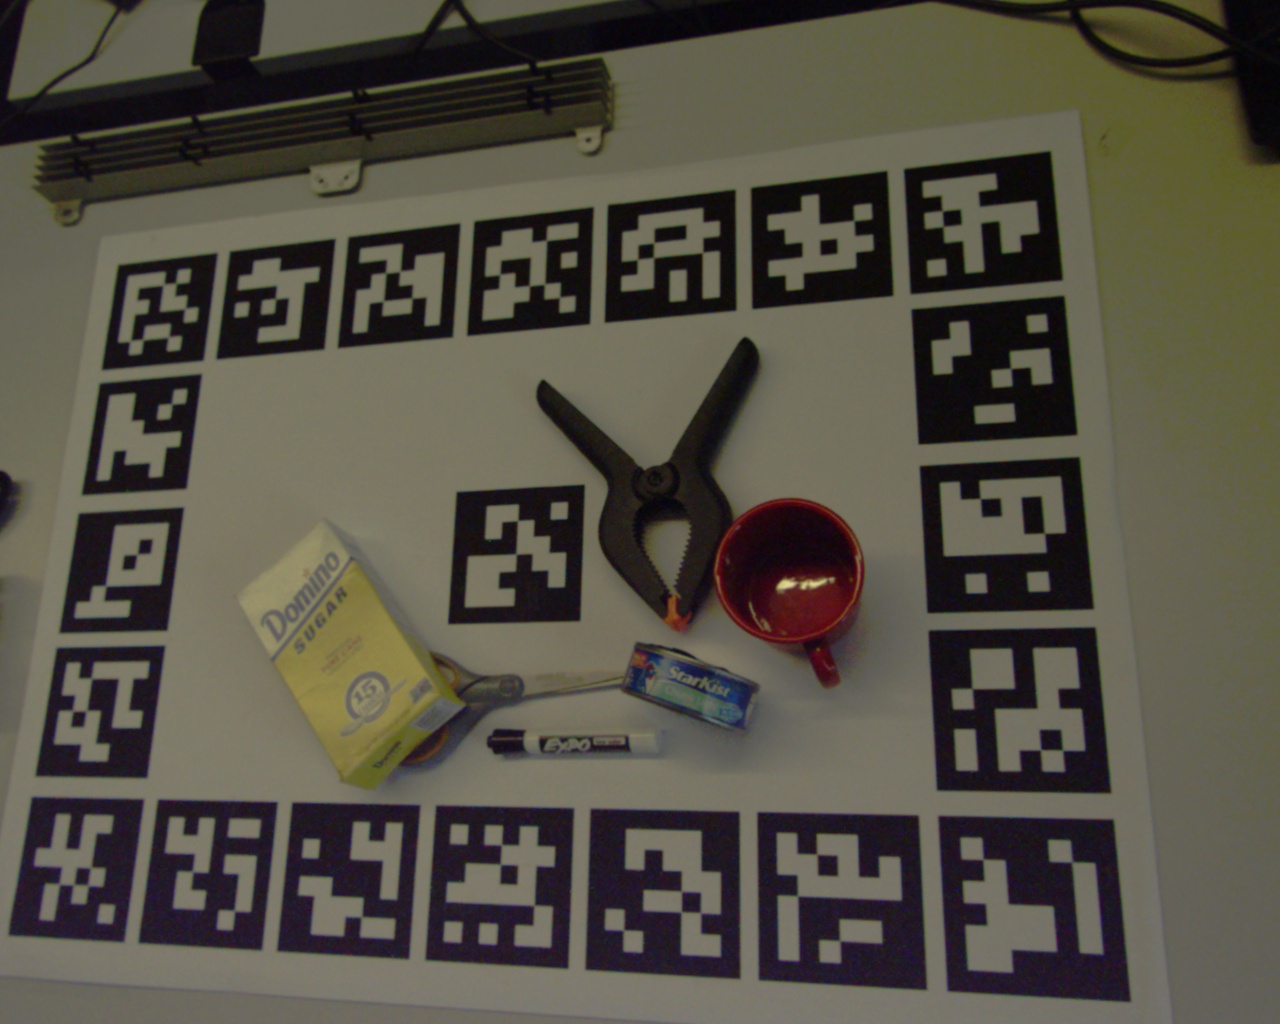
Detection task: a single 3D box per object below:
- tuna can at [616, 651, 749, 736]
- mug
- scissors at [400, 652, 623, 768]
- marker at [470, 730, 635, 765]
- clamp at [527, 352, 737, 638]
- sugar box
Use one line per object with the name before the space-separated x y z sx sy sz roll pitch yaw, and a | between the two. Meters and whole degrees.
tuna can | 0.028 0.123 0.768 0.086 0.085 0.034 15 79 18
mug | 0.088 0.069 0.771 0.093 0.081 0.118 -29 67 5
scissors | -0.109 0.130 0.835 0.204 0.016 0.088 -13 69 10
marker | -0.064 0.169 0.815 0.122 0.019 0.020 -6 75 14
clamp | 0.007 -0.007 0.845 0.166 0.036 0.203 -13 73 11
sugar box | -0.216 0.109 0.853 0.093 0.045 0.178 -38 63 2
